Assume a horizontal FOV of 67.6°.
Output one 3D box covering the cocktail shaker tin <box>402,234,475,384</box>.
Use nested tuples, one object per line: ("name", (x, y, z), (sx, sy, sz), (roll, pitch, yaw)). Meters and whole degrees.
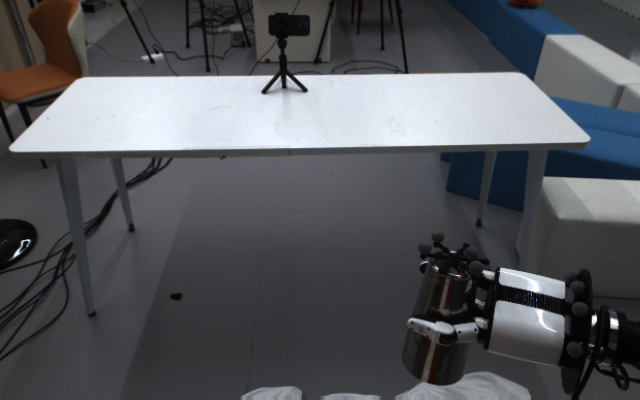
("cocktail shaker tin", (0.171, 0.158, 0.671), (0.093, 0.170, 0.093), (3, 25, -1))
